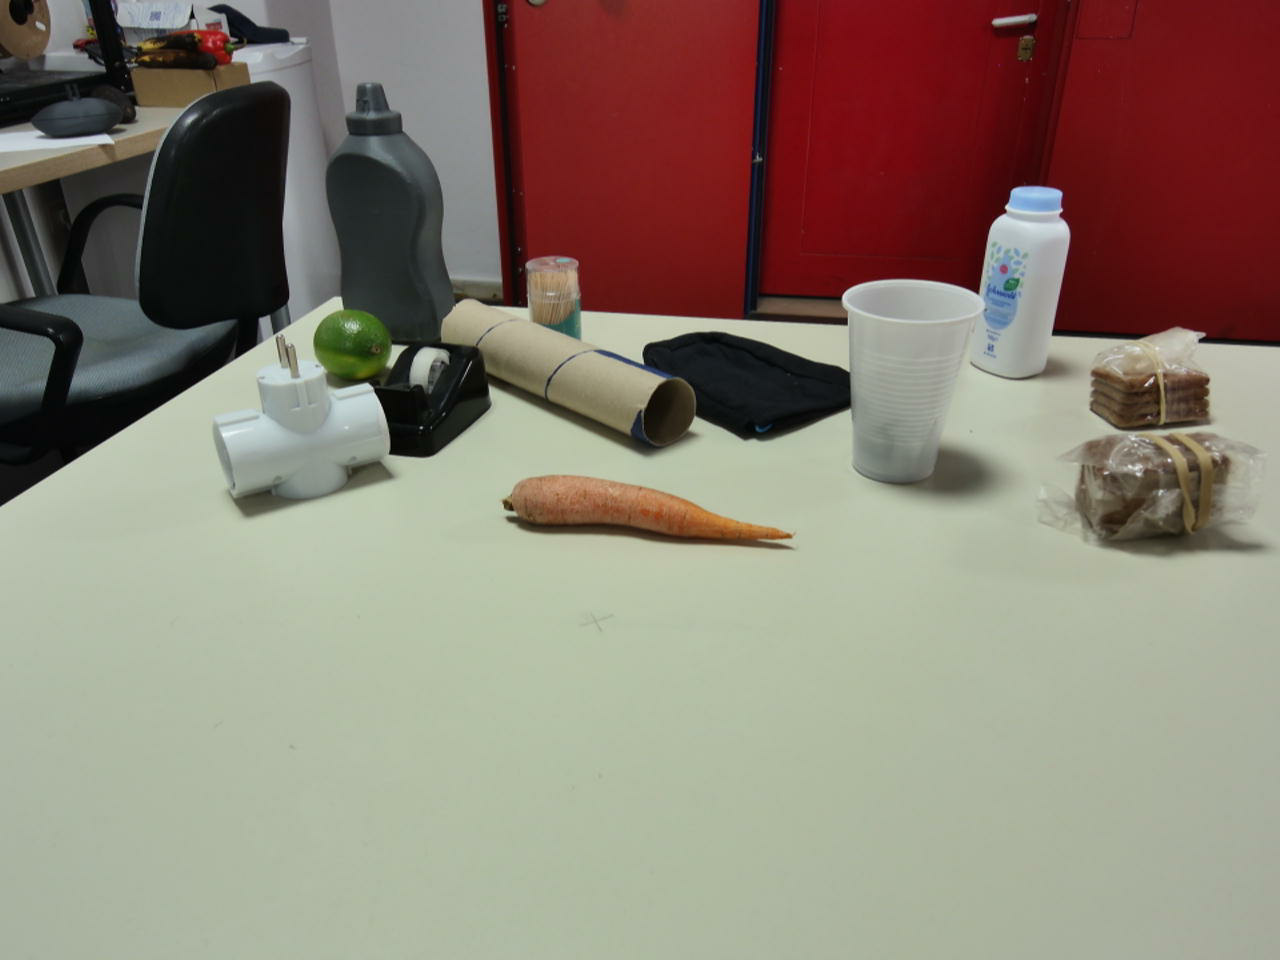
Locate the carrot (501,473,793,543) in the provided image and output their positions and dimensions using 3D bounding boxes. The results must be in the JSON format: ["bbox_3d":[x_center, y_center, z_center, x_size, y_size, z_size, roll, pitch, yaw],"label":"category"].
[{"bbox_3d":[0.003,0.016,0.551,0.163,0.029,0.031,5,26,11],"label":"carrot"}]
